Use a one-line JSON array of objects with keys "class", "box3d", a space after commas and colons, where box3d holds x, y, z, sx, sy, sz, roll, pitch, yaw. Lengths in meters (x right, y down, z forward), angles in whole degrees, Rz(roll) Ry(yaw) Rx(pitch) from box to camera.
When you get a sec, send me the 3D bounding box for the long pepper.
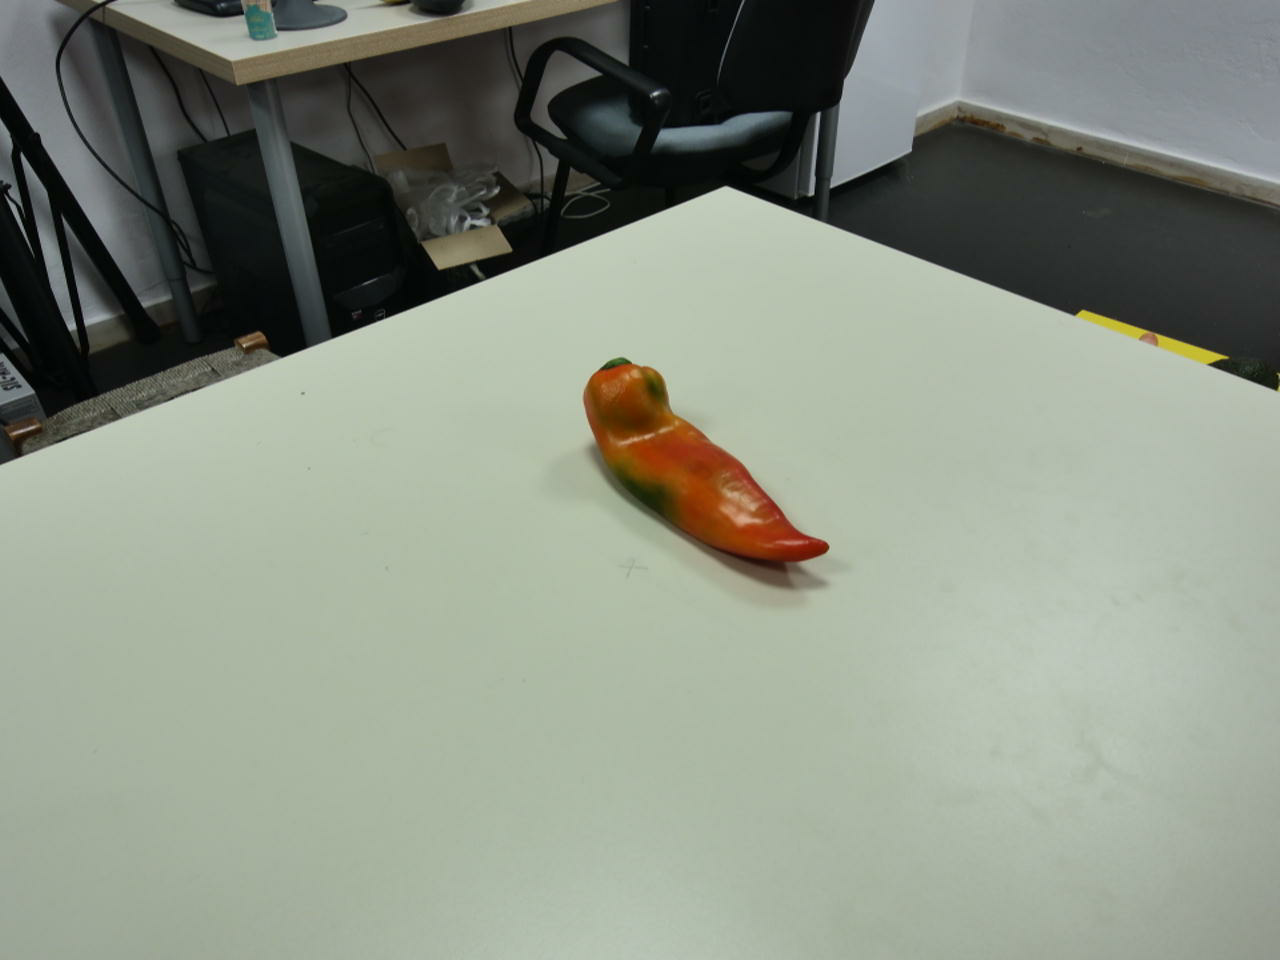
[{"class": "long pepper", "box3d": [0.035, -0.011, 0.598, 0.066, 0.065, 0.199, -24, 42, -28]}]
